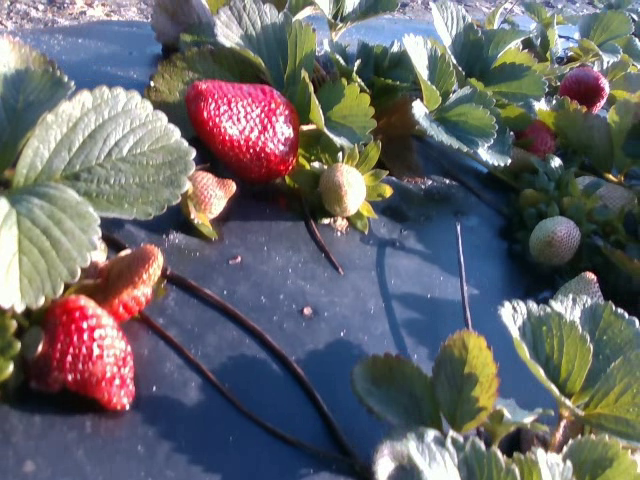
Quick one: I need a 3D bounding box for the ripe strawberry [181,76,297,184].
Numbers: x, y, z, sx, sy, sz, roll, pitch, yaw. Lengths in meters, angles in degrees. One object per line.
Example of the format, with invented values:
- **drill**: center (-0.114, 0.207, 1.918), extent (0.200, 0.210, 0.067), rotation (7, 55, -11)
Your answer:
- **ripe strawberry**: center (-0.039, -0.057, 0.283), extent (0.056, 0.055, 0.072), rotation (-10, 0, 29)
